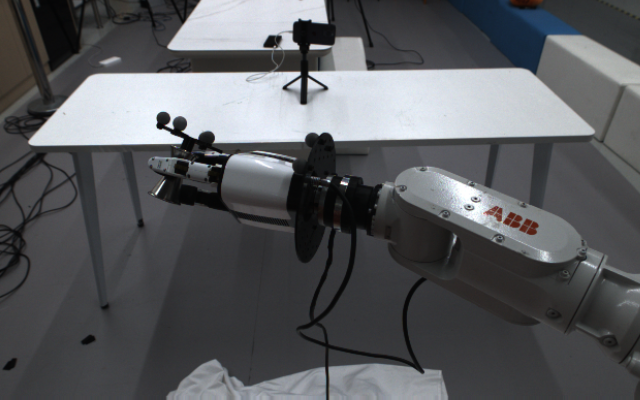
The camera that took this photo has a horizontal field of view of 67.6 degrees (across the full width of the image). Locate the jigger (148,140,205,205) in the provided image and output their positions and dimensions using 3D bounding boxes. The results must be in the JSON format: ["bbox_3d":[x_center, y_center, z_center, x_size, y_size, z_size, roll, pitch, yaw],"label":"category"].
[{"bbox_3d":[-0.188,-0.032,0.622,0.043,0.071,0.043,24,-2,1],"label":"jigger"}]
